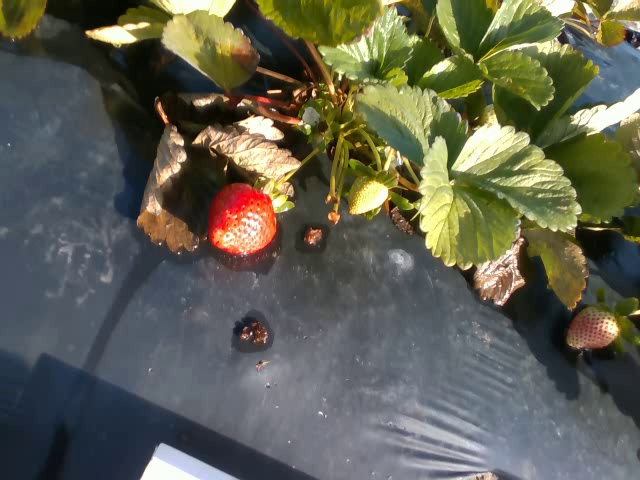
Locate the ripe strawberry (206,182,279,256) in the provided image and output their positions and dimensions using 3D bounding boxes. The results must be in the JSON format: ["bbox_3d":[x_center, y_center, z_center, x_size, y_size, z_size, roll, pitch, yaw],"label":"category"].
[{"bbox_3d":[-0.041,-0.004,0.288,0.037,0.047,0.054,-35,7,43],"label":"ripe strawberry"}]
